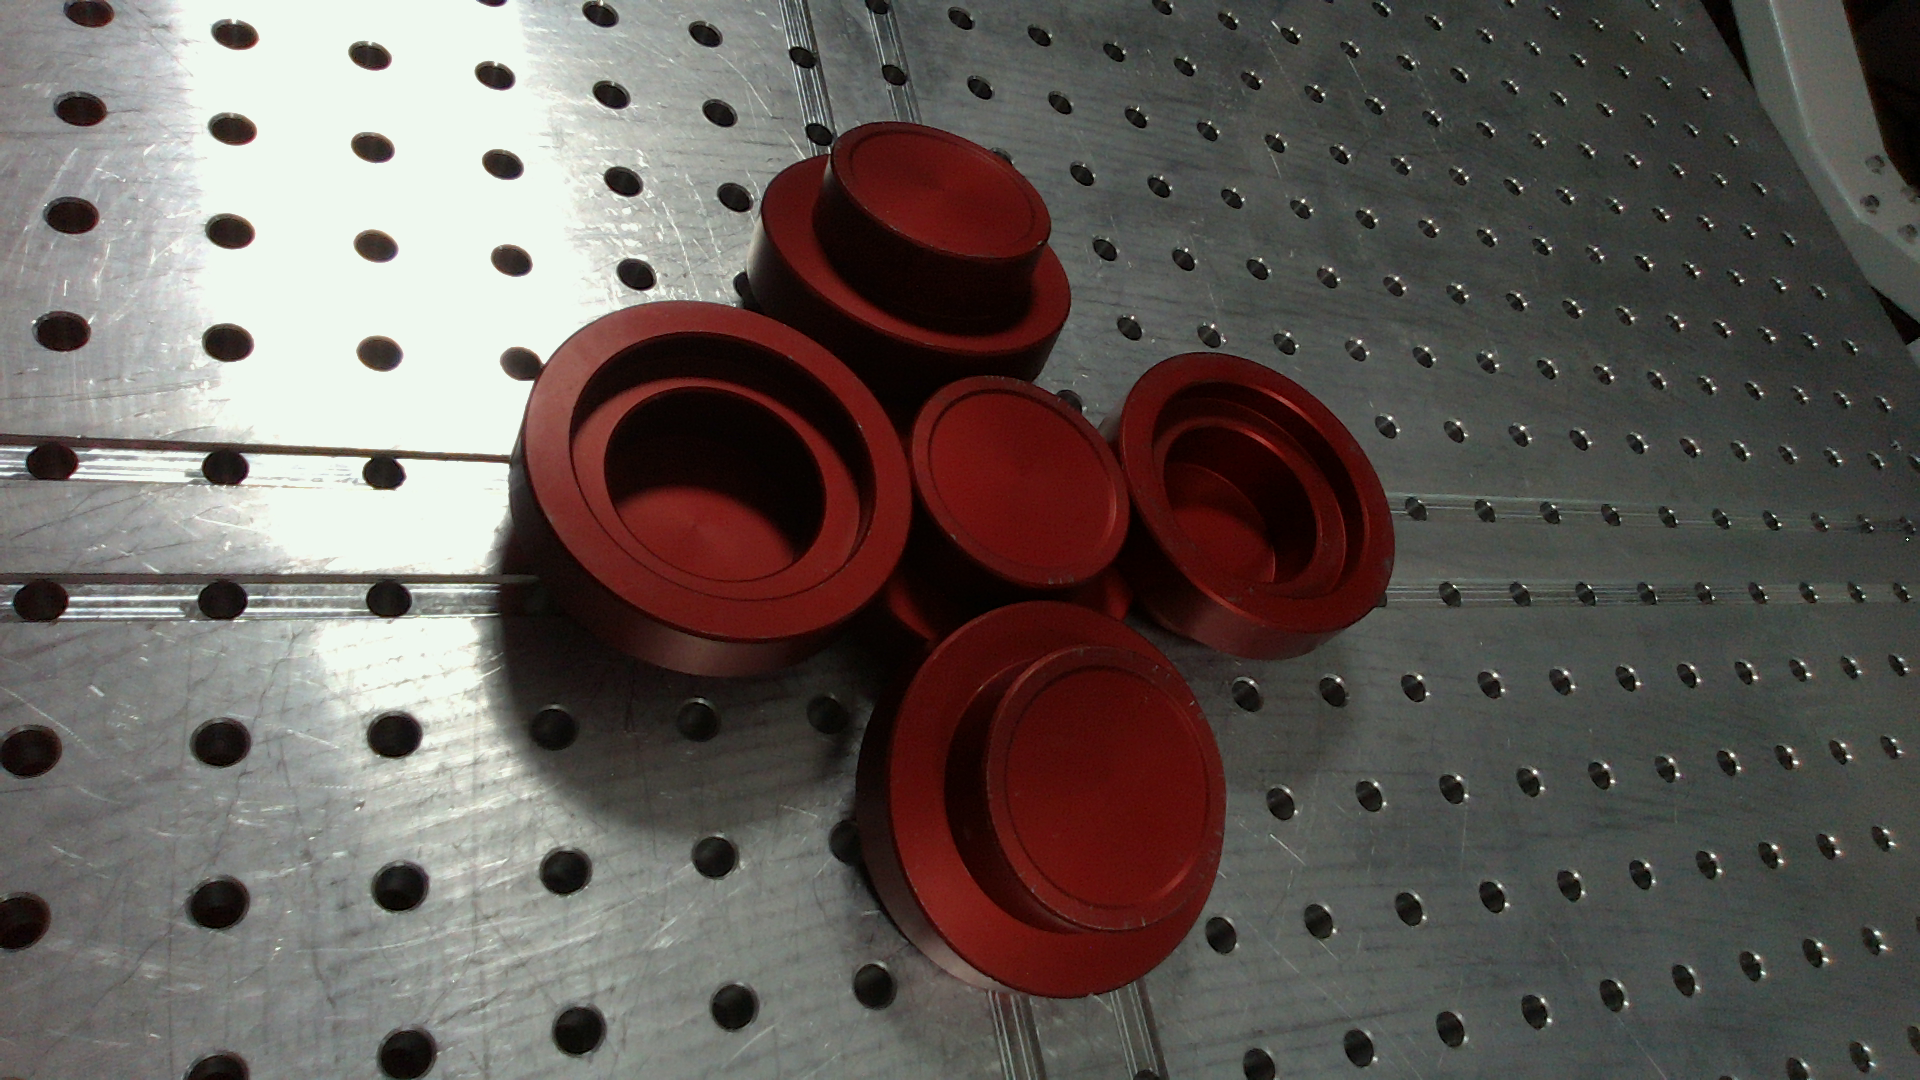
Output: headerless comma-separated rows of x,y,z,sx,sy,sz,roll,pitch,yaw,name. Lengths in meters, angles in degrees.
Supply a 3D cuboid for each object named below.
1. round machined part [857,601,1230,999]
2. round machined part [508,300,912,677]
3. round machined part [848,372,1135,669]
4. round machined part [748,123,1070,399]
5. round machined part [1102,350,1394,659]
0.027,0.063,0.343,0.098,0.042,0.098,8,73,-26,round machined part
-0.065,-0.010,0.352,0.098,0.042,0.098,14,56,-21,round machined part
0.009,-0.008,0.390,0.098,0.042,0.098,14,56,-21,round machined part
-0.012,-0.089,0.415,0.098,0.042,0.098,14,43,-13,round machined part
0.083,-0.007,0.430,0.098,0.042,0.098,14,56,-21,round machined part
